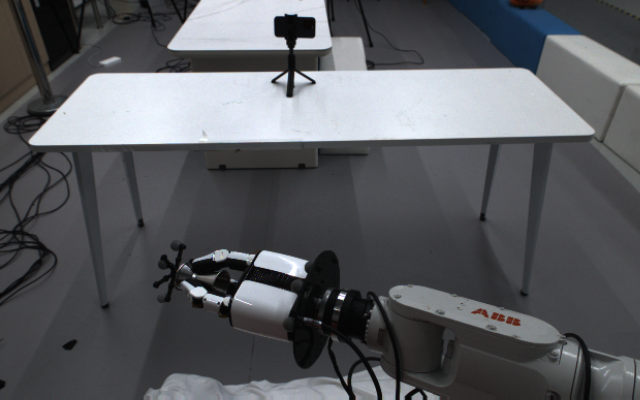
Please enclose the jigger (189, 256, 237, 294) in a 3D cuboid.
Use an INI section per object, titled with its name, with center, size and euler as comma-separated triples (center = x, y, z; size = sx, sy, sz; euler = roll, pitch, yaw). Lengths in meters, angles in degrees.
[jigger]
center = -0.168, 0.116, 0.714
size = 0.071, 0.043, 0.043
euler = 10, 35, 22
